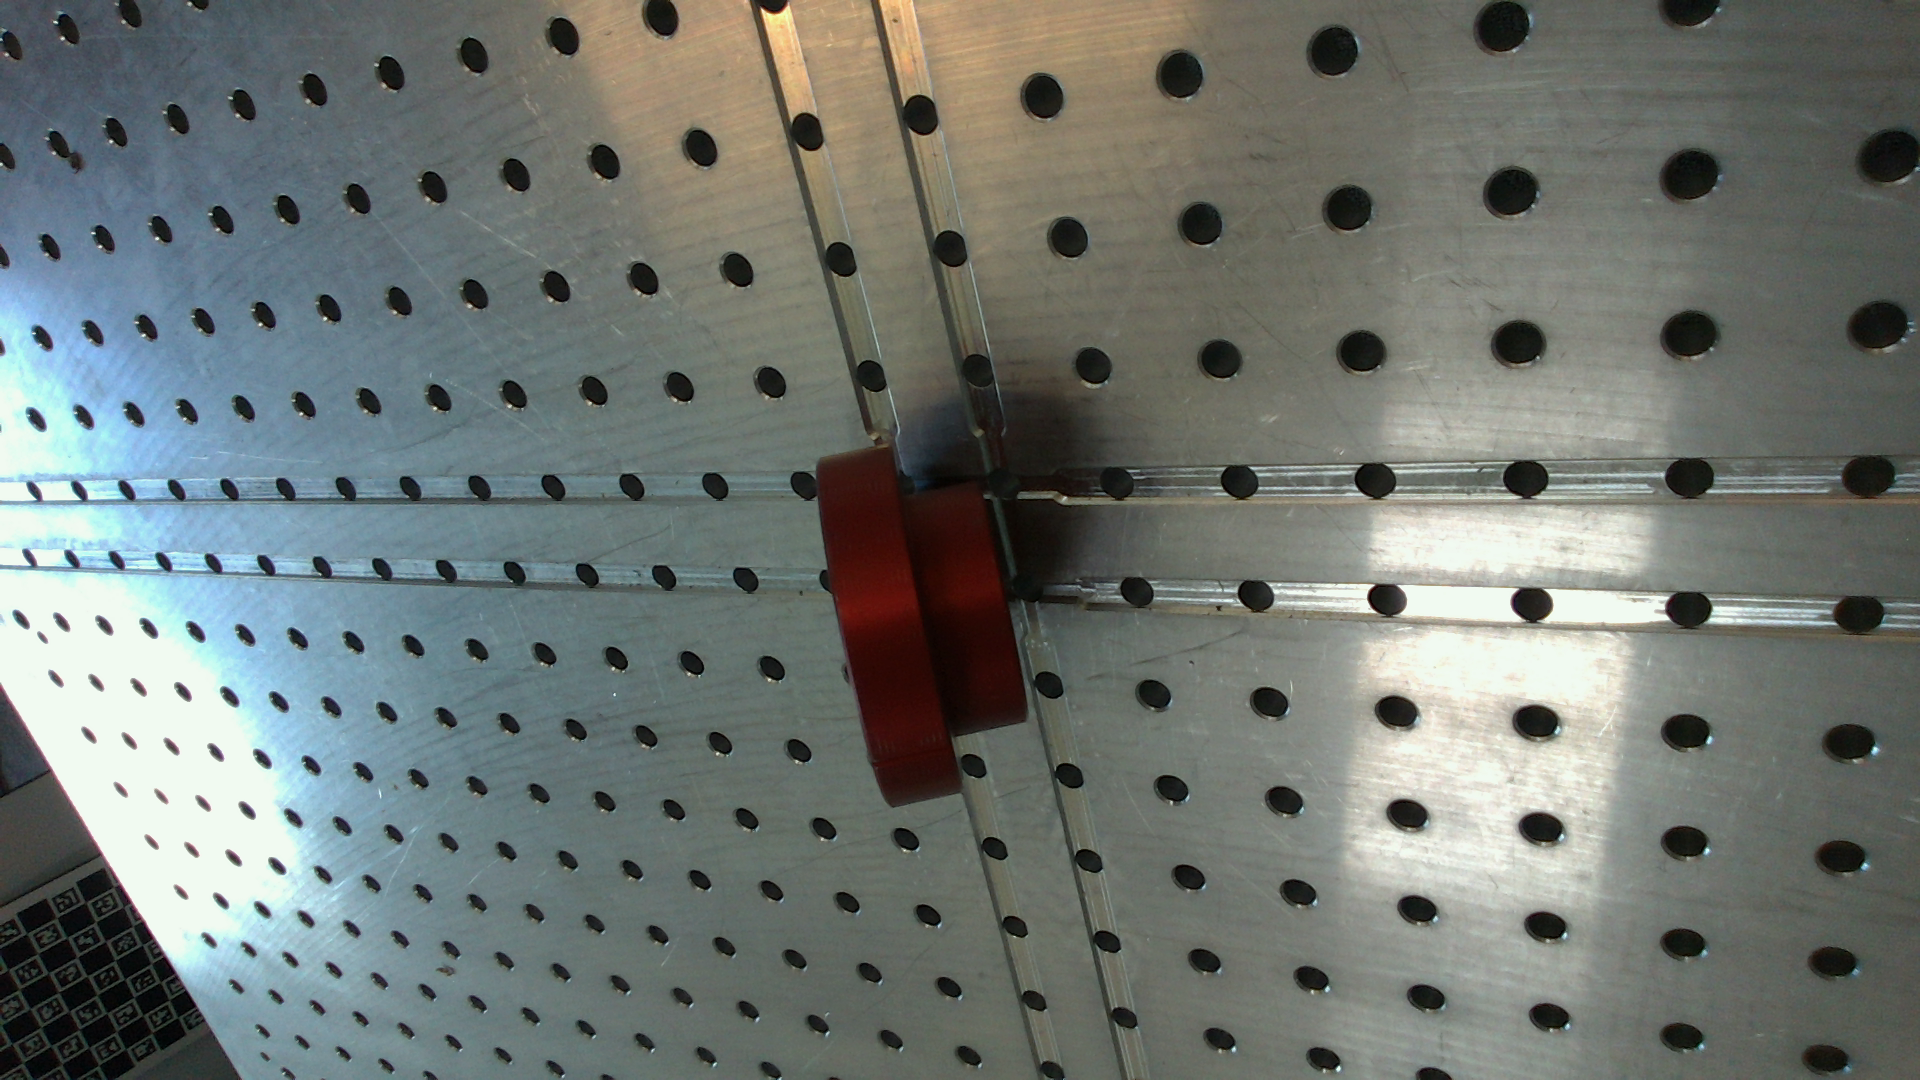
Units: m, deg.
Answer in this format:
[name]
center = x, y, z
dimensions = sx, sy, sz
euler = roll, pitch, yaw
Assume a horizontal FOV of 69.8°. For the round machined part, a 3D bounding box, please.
[round machined part]
center = -0.009, 0.021, 0.379
dimensions = 0.042, 0.098, 0.098
euler = -12, 116, 0
